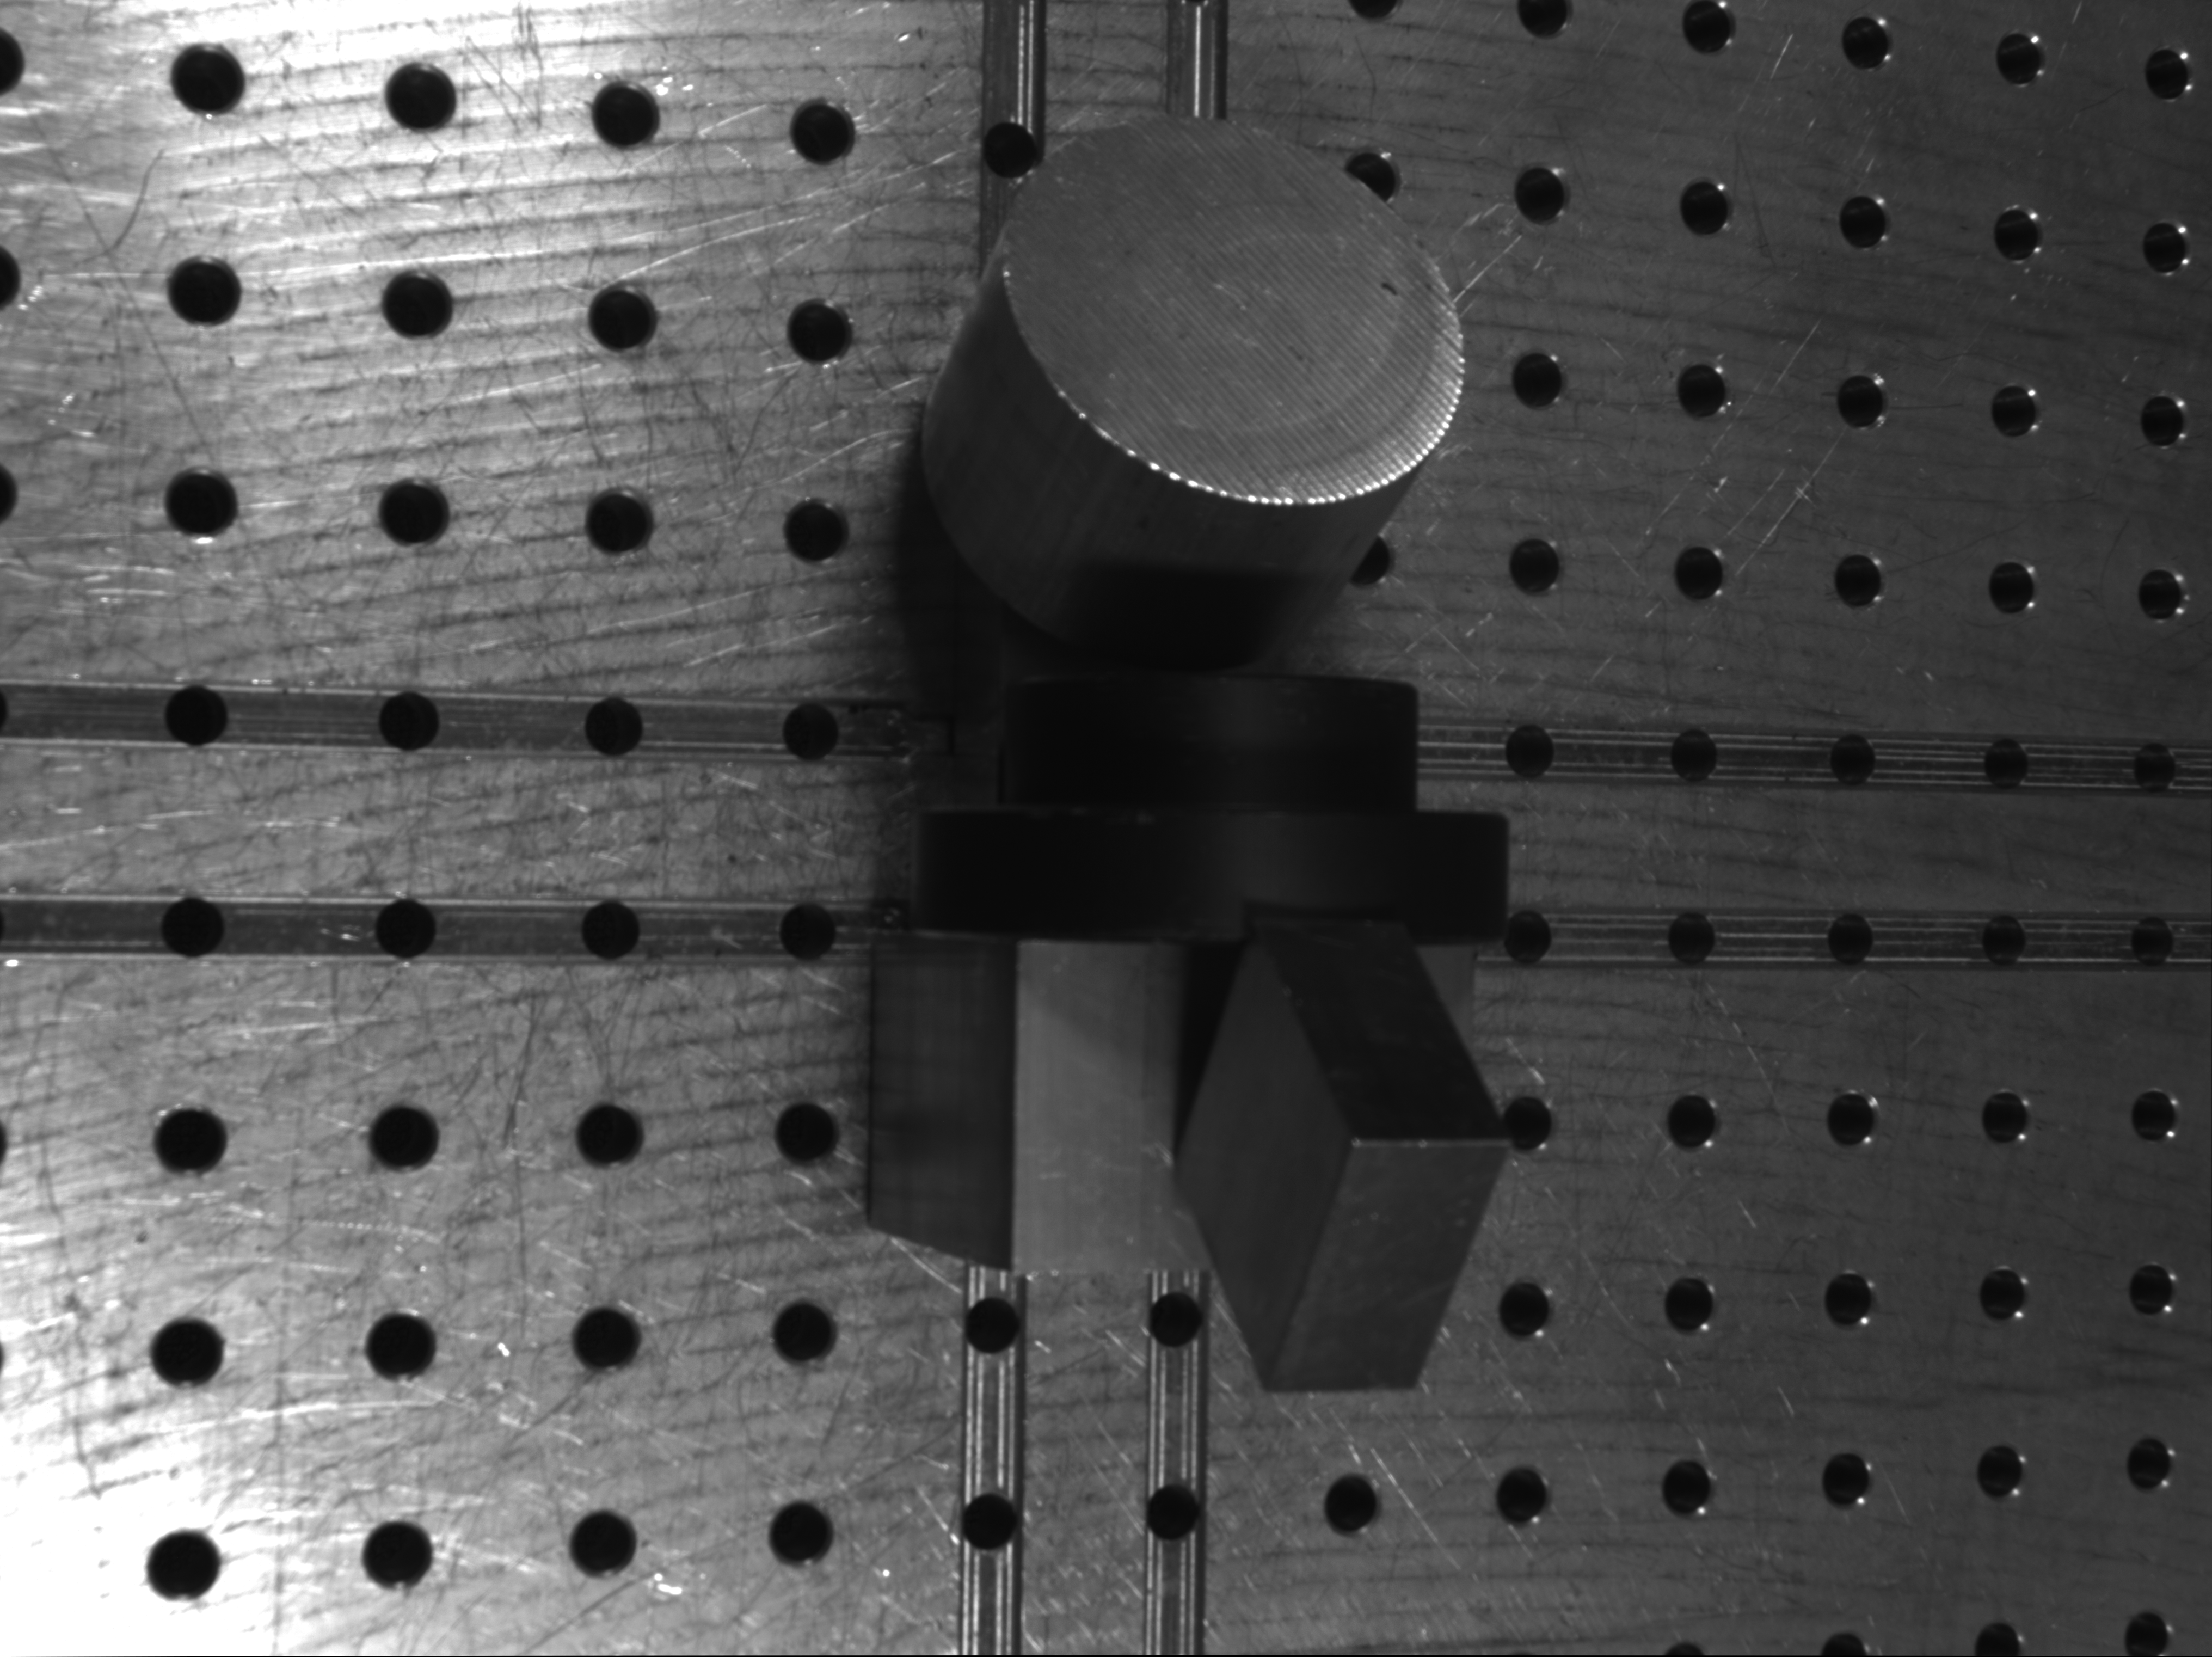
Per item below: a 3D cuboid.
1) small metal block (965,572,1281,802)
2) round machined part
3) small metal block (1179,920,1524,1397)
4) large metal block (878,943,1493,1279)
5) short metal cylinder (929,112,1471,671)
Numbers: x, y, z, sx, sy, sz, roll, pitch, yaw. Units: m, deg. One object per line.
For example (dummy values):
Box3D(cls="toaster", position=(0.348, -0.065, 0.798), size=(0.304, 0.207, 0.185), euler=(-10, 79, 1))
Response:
Box3D(cls="small metal block", position=(0.003, -0.027, 0.646), size=(0.050, 0.025, 0.050), euler=(1, 90, -20))
Box3D(cls="round machined part", position=(0.019, -0.003, 0.603), size=(0.098, 0.098, 0.042), euler=(1, 90, -20))
Box3D(cls="small metal block", position=(0.035, 0.049, 0.549), size=(0.025, 0.050, 0.050), euler=(1, 127, -20))
Box3D(cls="large metal block", position=(0.011, 0.046, 0.620), size=(0.080, 0.080, 0.050), euler=(1, 90, -20))
Box3D(cls="short metal cylinder", position=(0.015, -0.074, 0.620), size=(0.080, 0.050, 0.080), euler=(10, 57, -15))
